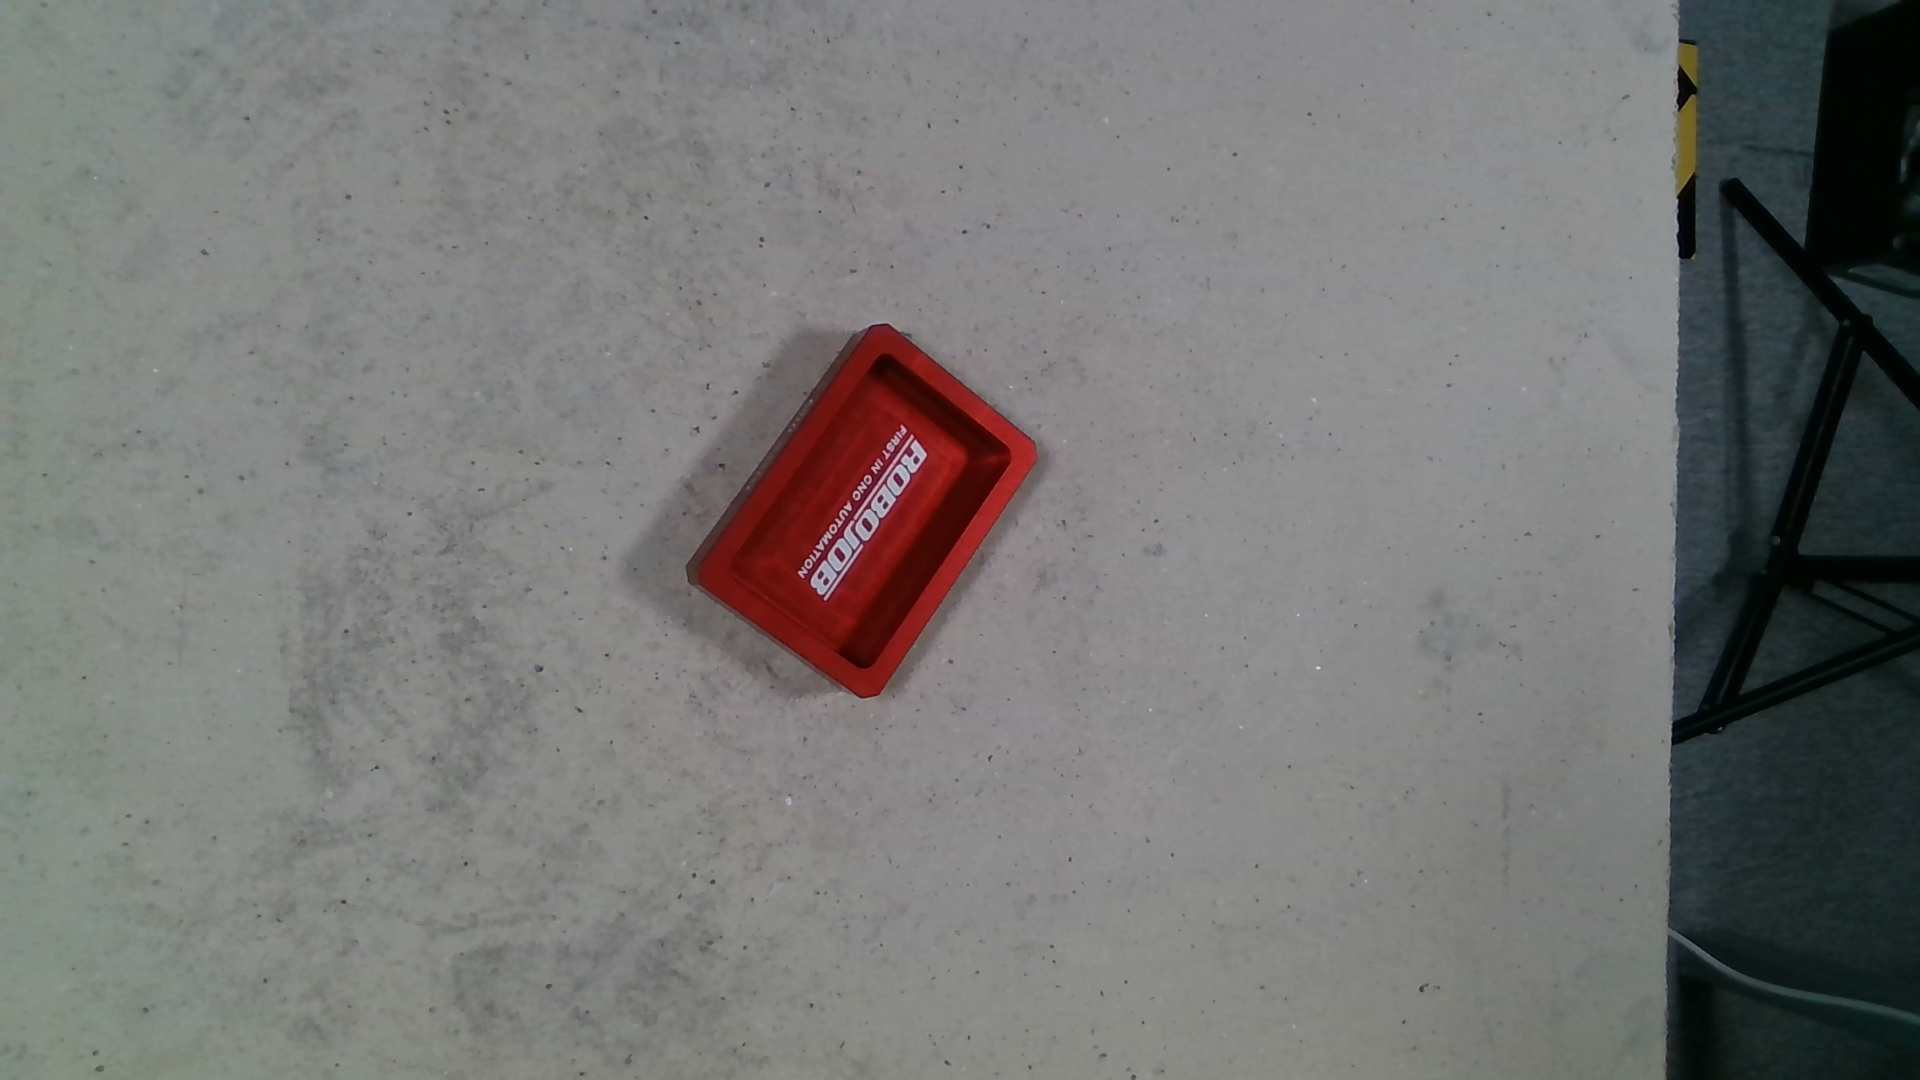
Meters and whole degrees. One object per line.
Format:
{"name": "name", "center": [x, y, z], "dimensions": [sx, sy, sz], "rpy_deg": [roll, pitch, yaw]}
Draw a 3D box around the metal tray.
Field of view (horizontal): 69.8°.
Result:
{"name": "metal tray", "center": [-0.039, -0.012, 0.569], "dimensions": [0.090, 0.030, 0.130], "rpy_deg": [38, 78, -16]}
